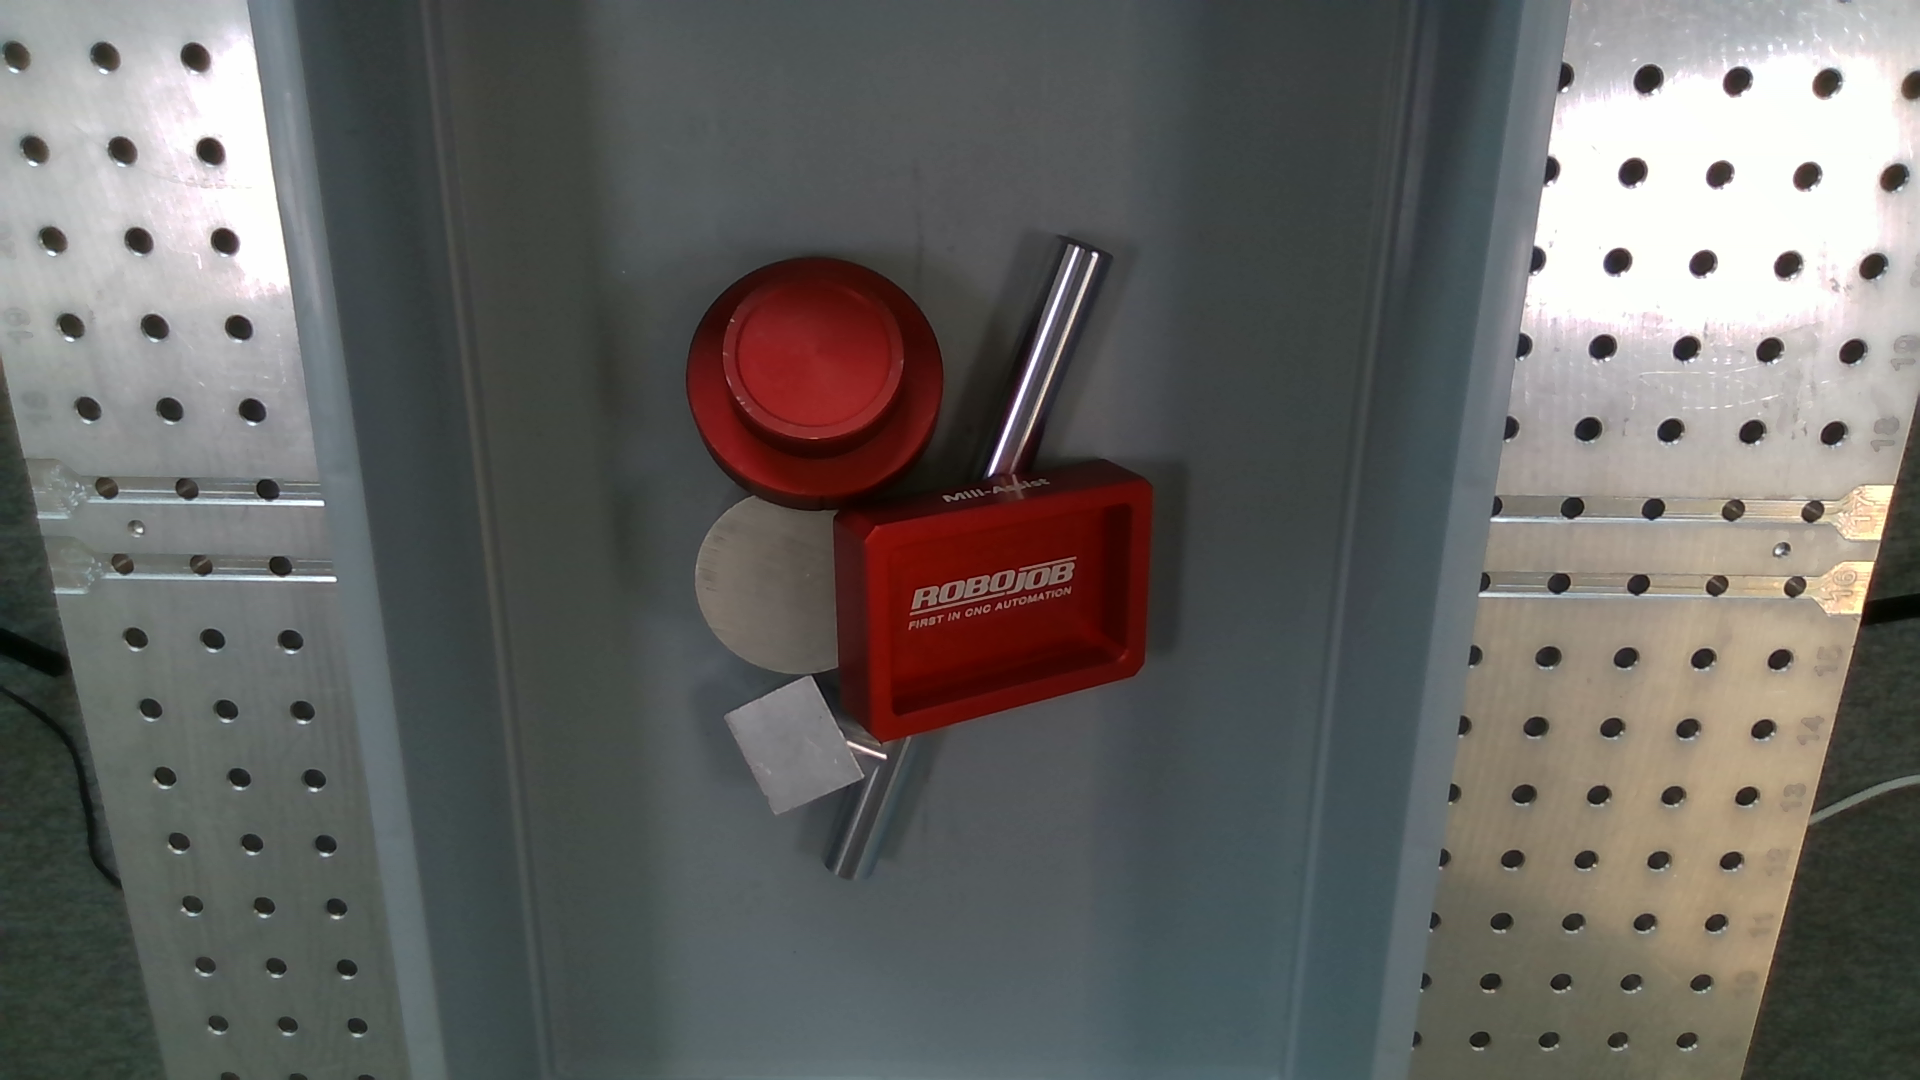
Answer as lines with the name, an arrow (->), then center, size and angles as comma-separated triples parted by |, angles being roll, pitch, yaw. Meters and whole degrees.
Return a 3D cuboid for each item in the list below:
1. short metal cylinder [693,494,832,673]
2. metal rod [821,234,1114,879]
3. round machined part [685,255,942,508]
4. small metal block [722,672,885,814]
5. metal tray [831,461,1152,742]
short metal cylinder -> -0.067, 0.009, 0.574 | 0.080, 0.050, 0.080 | 0, 110, 0
metal rod -> -0.002, 0.017, 0.590 | 0.025, 0.025, 0.301 | 19, 109, -7
round machined part -> -0.056, -0.064, 0.526 | 0.098, 0.042, 0.098 | 1, 77, -4
small metal block -> -0.068, 0.085, 0.604 | 0.050, 0.025, 0.050 | -26, 92, 25
metal tray -> 0.015, 0.022, 0.558 | 0.130, 0.030, 0.090 | -11, 114, -27
